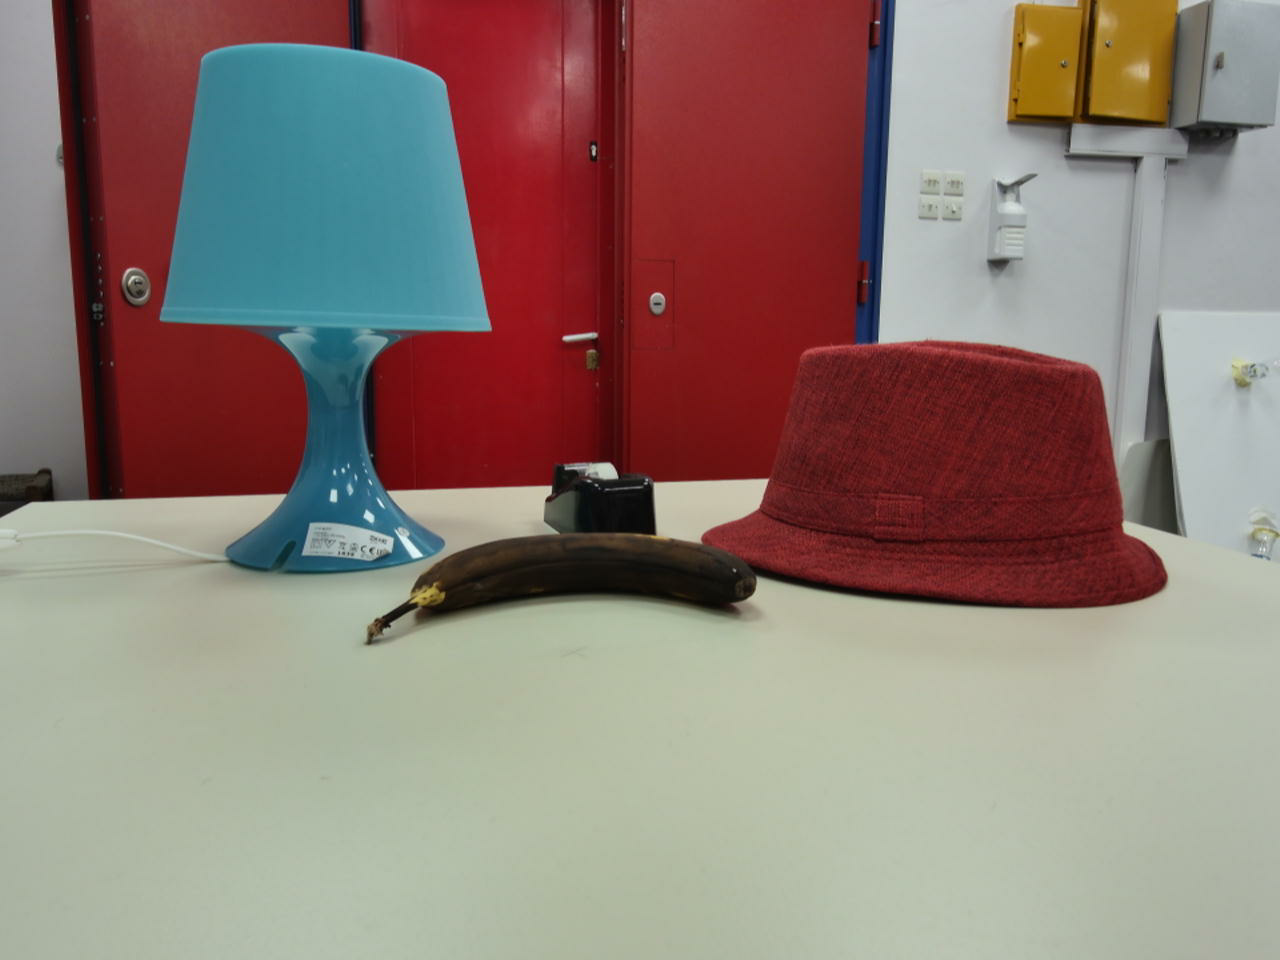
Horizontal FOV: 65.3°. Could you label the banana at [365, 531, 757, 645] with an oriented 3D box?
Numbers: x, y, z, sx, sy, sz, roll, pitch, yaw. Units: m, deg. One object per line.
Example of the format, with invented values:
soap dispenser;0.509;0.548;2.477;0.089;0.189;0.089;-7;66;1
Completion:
banana;-0.039;0.048;0.507;0.188;0.033;0.091;-2;7;-12
